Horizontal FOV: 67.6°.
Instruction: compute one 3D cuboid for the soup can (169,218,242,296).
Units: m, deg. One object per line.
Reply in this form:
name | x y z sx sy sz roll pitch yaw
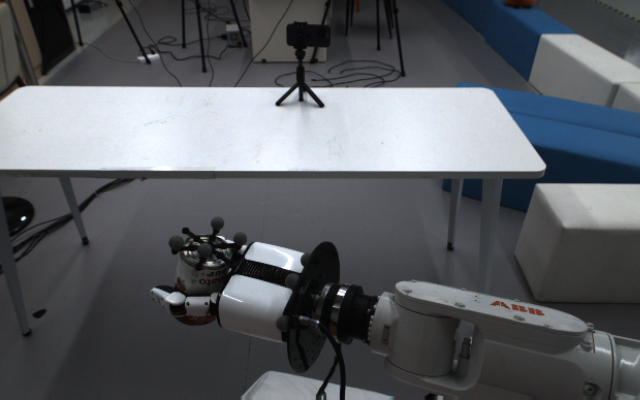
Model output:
soup can | -0.154 0.105 0.629 0.067 0.101 0.067 13 30 -8
